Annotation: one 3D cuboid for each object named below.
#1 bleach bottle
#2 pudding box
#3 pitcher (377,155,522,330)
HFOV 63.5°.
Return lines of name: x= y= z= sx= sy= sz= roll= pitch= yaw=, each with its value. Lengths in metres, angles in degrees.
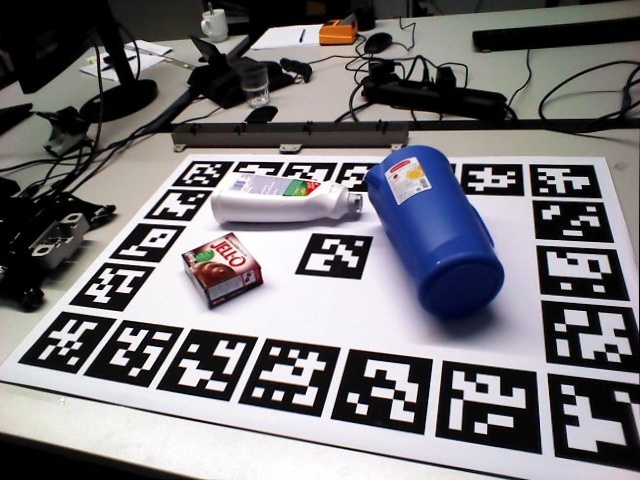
bleach bottle: x=-0.035 y=-0.062 z=0.878 sx=0.252 sy=0.068 sz=0.102 roll=2 pitch=44 yaw=14
pudding box: x=-0.136 y=0.048 z=0.772 sx=0.089 sy=0.039 sz=0.114 roll=-20 pitch=40 yaw=-22
pitcher: x=0.185 y=0.004 z=0.712 sx=0.188 sy=0.134 sz=0.241 roll=15 pitch=36 yaw=-24
